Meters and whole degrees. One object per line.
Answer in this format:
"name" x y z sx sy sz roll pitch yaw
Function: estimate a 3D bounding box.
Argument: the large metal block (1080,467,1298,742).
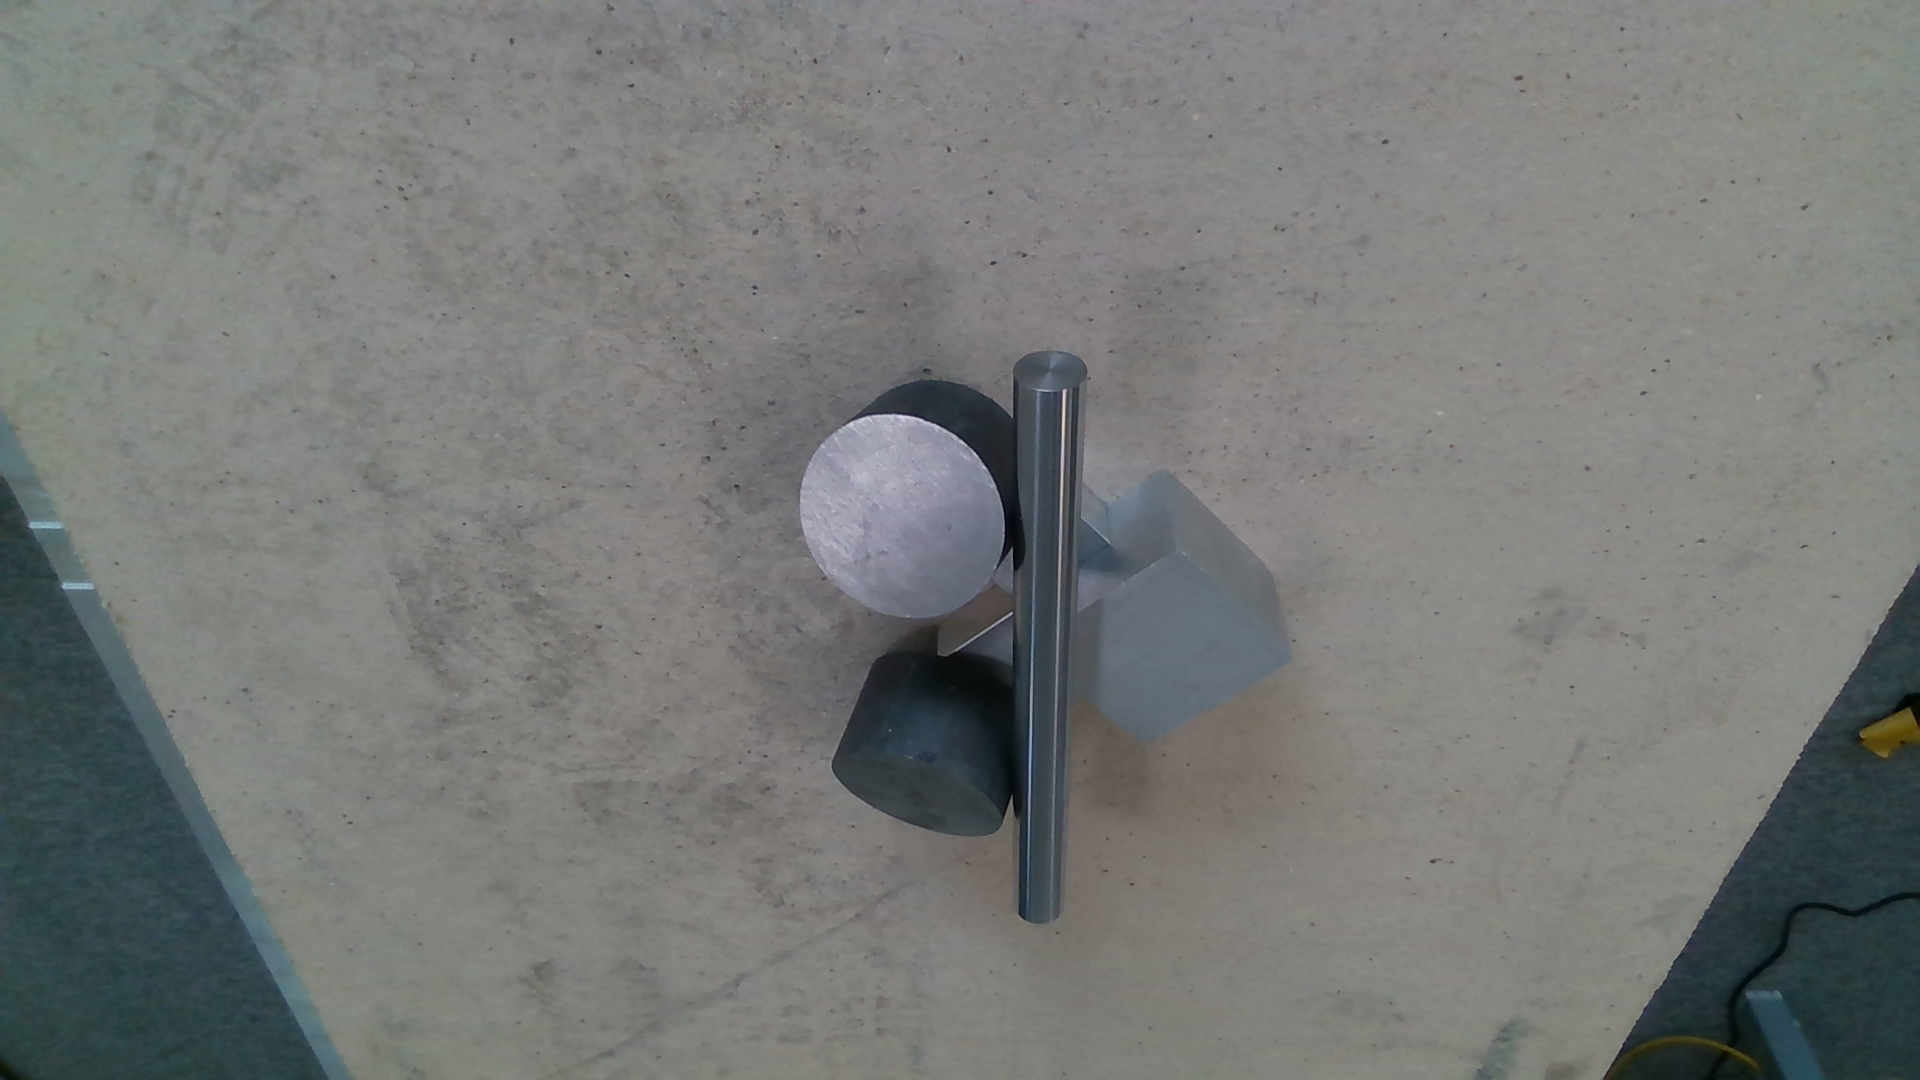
"large metal block" 0.083 0.029 0.586 0.080 0.050 0.080 -35 122 26

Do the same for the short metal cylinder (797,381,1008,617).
"short metal cylinder" -0.016 -0.017 0.530 0.080 0.050 0.080 6 112 15

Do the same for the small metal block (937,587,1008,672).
"small metal block" 0.025 0.047 0.619 0.050 0.025 0.050 -36 121 26

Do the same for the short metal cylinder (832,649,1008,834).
"short metal cylinder" -0.012 0.092 0.623 0.080 0.050 0.080 15 150 9

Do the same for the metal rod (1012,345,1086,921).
"metal rod" 0.034 0.056 0.560 0.025 0.025 0.301 -1 130 1

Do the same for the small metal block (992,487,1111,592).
"small metal block" 0.027 -0.008 0.573 0.050 0.025 0.050 -36 122 26
